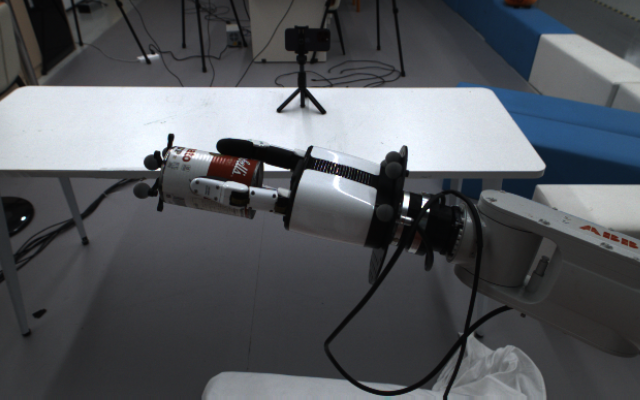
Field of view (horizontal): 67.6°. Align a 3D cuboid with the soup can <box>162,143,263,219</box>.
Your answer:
[{"bbox_3d":[-0.118,-0.019,0.549,0.101,0.067,0.067,10,35,0],"label":"soup can"}]
